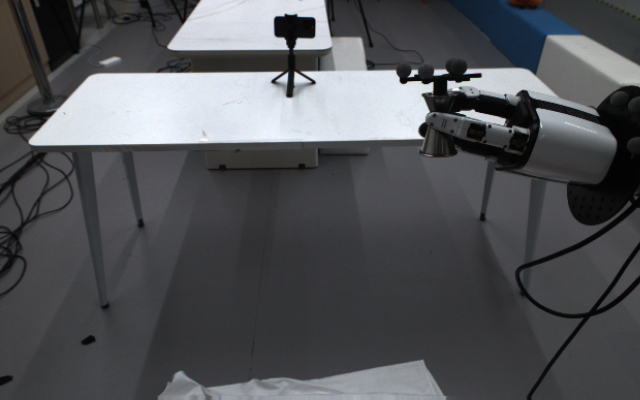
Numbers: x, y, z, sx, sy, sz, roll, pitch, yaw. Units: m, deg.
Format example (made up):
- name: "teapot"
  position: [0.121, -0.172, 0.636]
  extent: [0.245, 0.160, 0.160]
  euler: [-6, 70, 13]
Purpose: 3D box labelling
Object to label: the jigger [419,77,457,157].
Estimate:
- name: "jigger"
  position: [0.135, -0.086, 0.552]
  extent: [0.043, 0.071, 0.043]
  euler: [-2, 19, 1]
